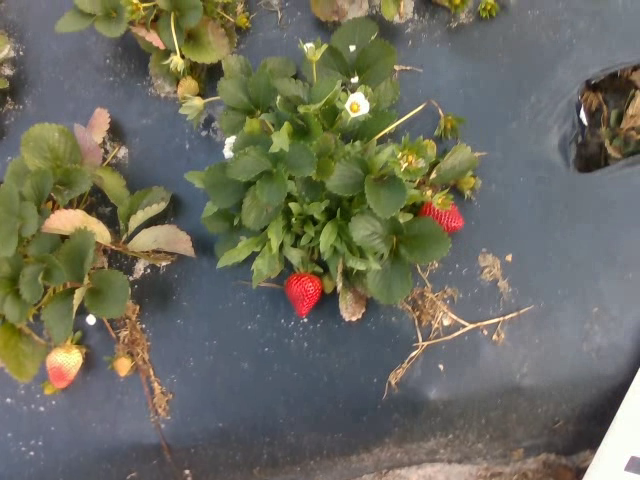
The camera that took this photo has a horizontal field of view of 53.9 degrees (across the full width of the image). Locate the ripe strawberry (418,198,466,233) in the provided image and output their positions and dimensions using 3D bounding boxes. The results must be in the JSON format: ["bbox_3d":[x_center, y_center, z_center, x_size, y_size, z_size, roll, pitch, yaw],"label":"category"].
[{"bbox_3d":[0.125,-0.021,0.634,0.046,0.043,0.046,22,18,27],"label":"ripe strawberry"}]

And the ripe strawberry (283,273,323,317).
[{"bbox_3d":[-0.018,0.056,0.645,0.043,0.051,0.043,-1,-10,3],"label":"ripe strawberry"}]
